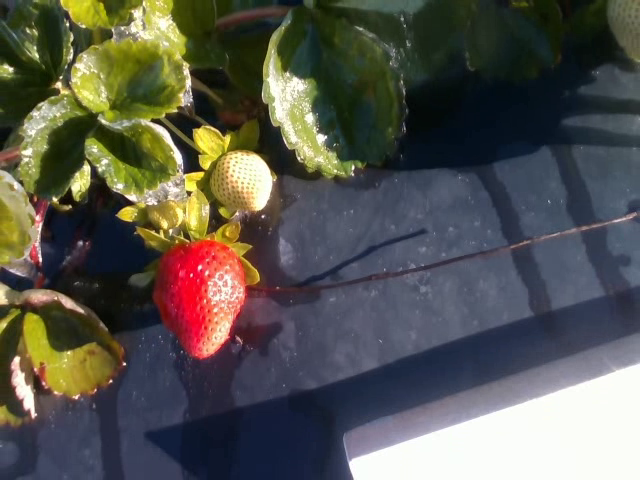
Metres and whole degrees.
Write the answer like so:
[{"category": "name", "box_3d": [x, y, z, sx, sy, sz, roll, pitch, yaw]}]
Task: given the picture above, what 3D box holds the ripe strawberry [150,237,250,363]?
[{"category": "ripe strawberry", "box_3d": [-0.034, 0.021, 0.176, 0.039, 0.039, 0.040, -26, -49, 14]}]
